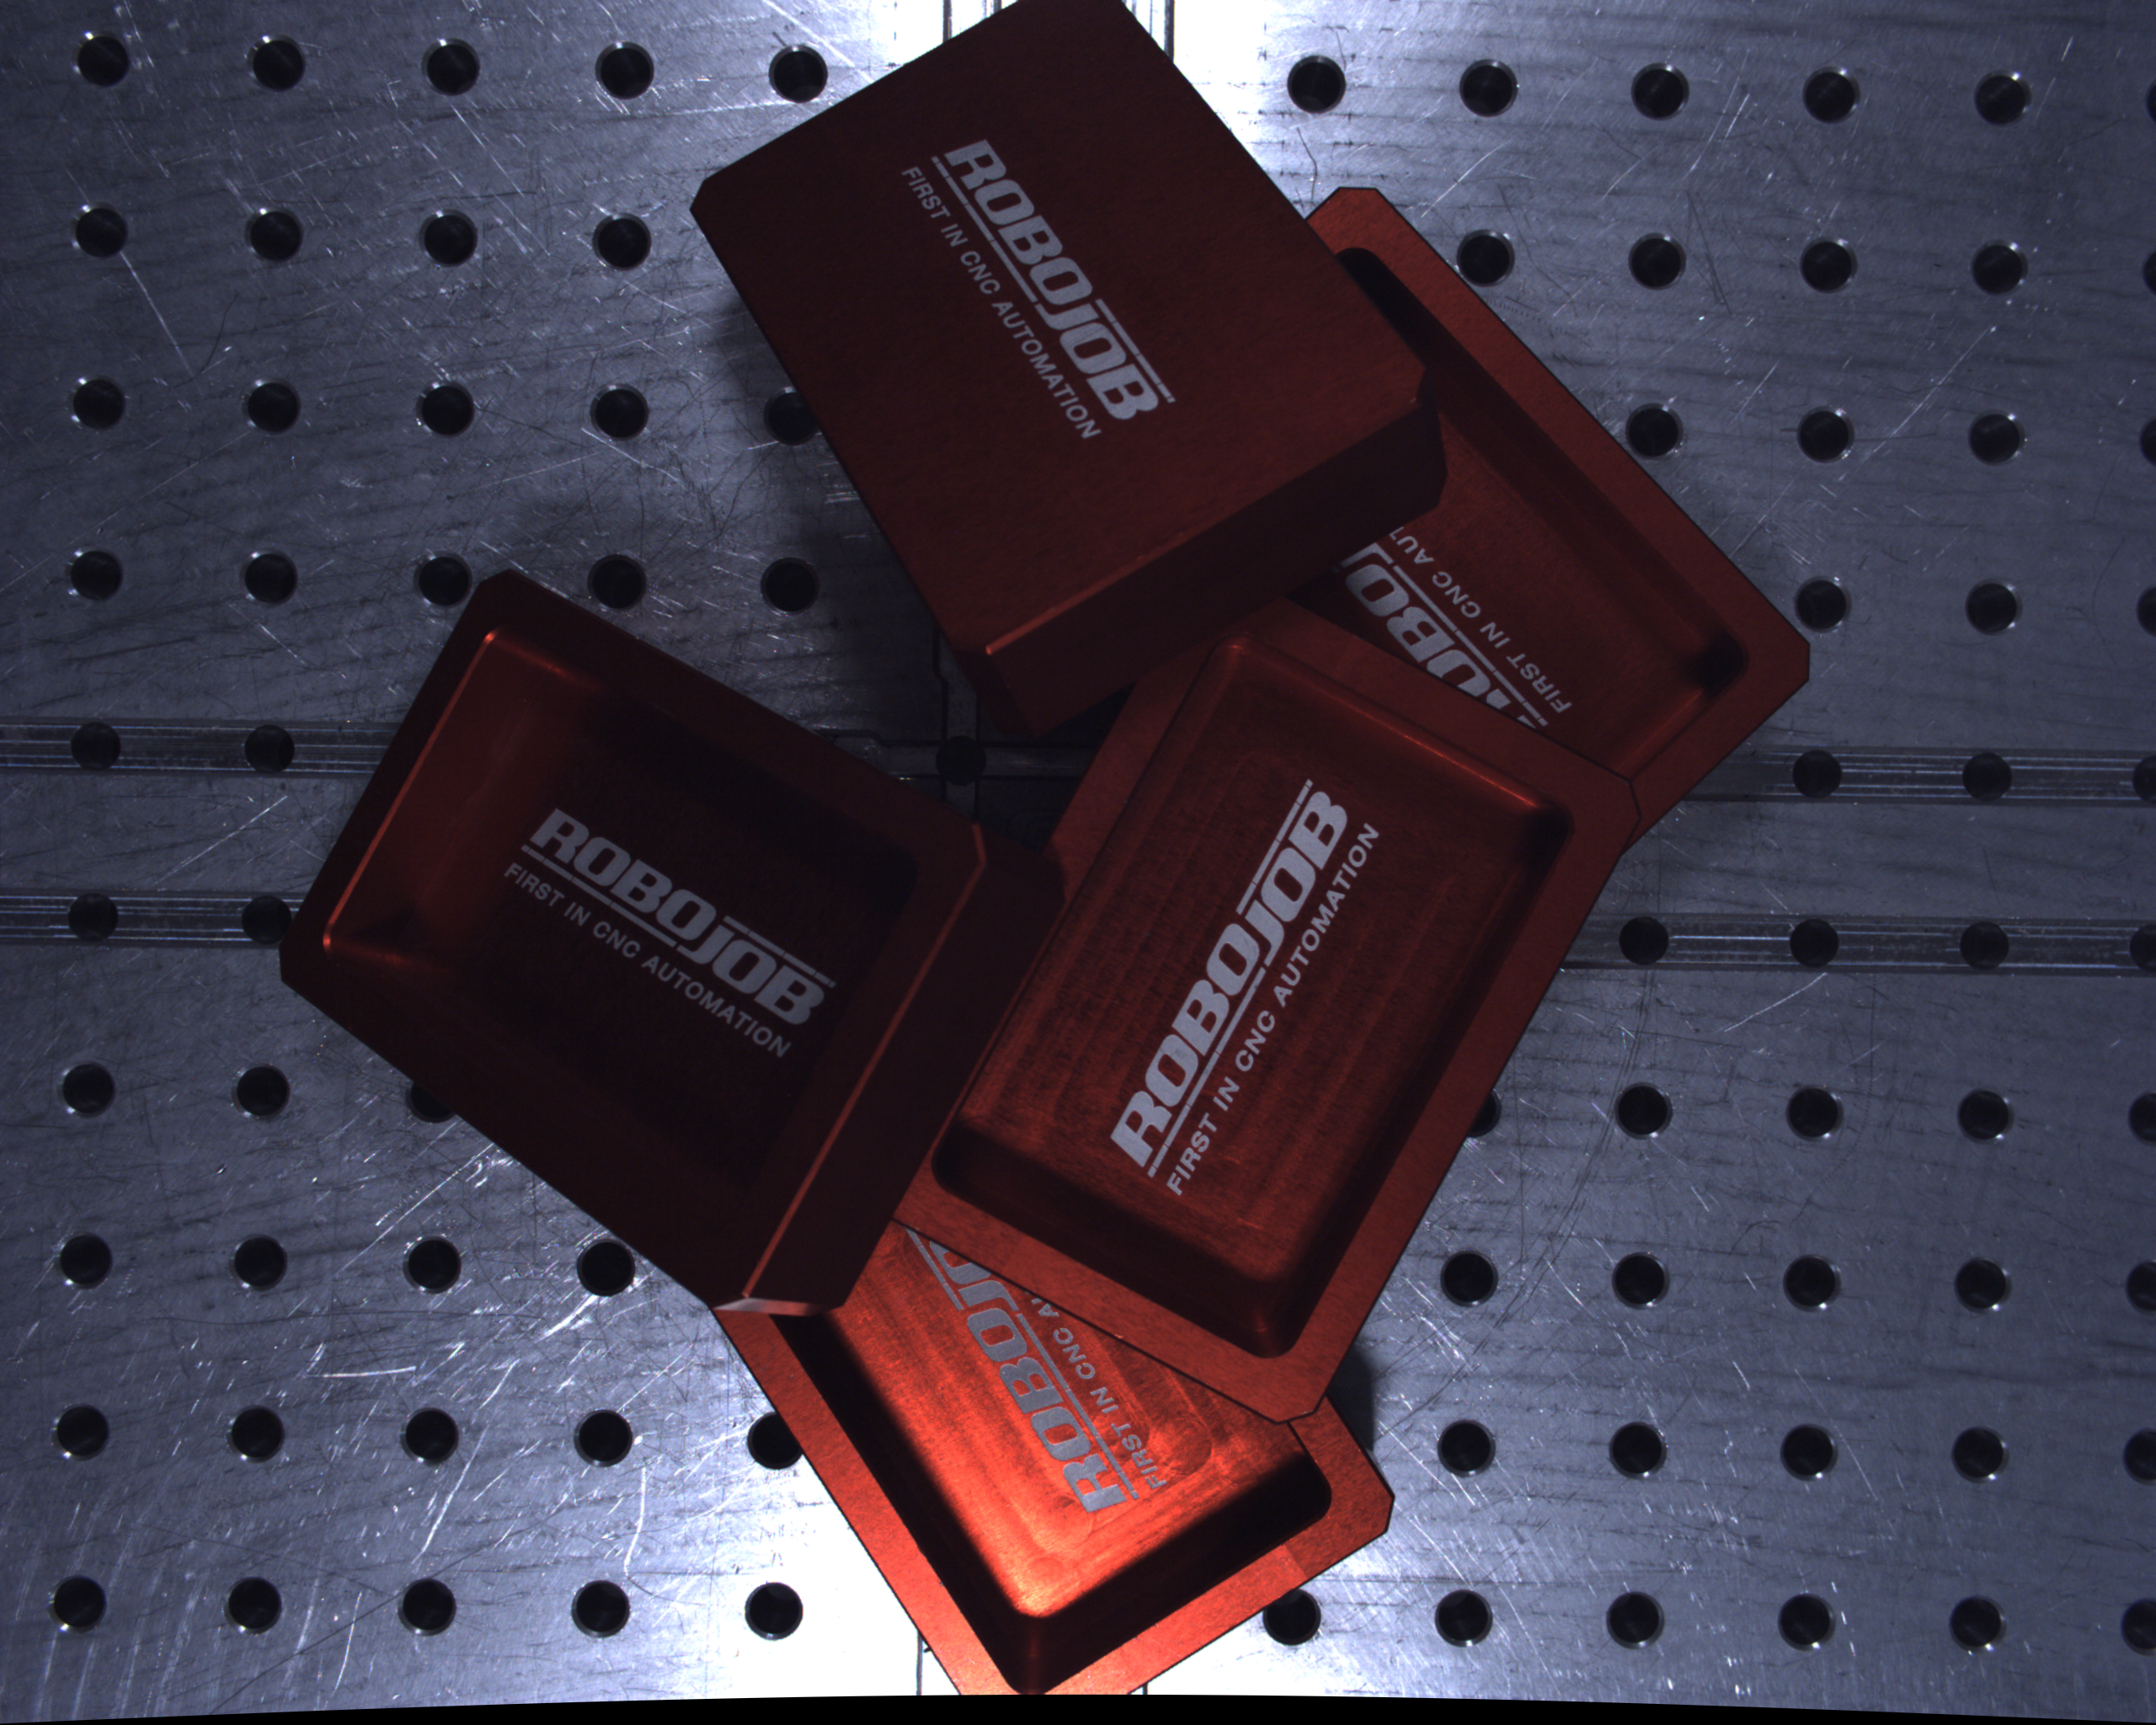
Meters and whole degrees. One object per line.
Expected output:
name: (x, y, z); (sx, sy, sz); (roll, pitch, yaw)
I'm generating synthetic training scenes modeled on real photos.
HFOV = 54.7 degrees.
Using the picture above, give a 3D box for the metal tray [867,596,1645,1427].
metal tray: (0.031, 0.024, 0.381); (0.090, 0.030, 0.130); (29, 90, -1)

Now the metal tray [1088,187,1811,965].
metal tray: (0.066, -0.054, 0.411); (0.090, 0.030, 0.130); (-43, 91, 0)

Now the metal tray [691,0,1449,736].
metal tray: (-0.005, -0.096, 0.380); (0.090, 0.030, 0.130); (-30, 60, -1)

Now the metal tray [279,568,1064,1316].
metal tray: (-0.078, 0.011, 0.379); (0.130, 0.030, 0.090); (28, 90, 30)

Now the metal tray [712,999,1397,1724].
metal tray: (-0.010, 0.095, 0.410); (0.090, 0.030, 0.130); (-33, 90, -1)
